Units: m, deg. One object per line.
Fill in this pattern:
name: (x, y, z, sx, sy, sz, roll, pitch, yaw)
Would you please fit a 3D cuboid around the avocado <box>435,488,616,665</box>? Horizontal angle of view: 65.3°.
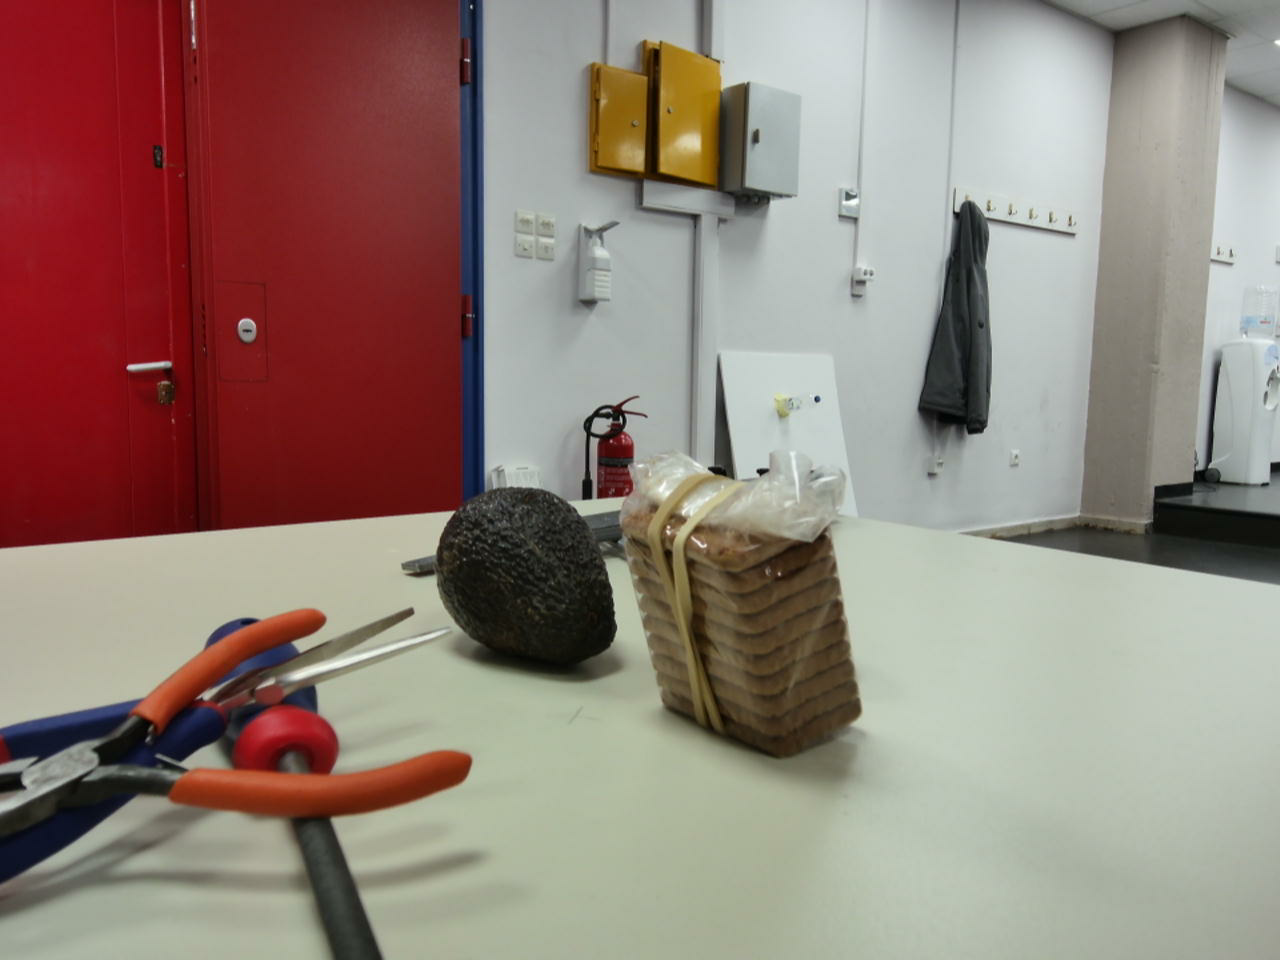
avocado: (-0.049, 0.038, 0.416, 0.070, 0.069, 0.090, -1, 4, -13)
